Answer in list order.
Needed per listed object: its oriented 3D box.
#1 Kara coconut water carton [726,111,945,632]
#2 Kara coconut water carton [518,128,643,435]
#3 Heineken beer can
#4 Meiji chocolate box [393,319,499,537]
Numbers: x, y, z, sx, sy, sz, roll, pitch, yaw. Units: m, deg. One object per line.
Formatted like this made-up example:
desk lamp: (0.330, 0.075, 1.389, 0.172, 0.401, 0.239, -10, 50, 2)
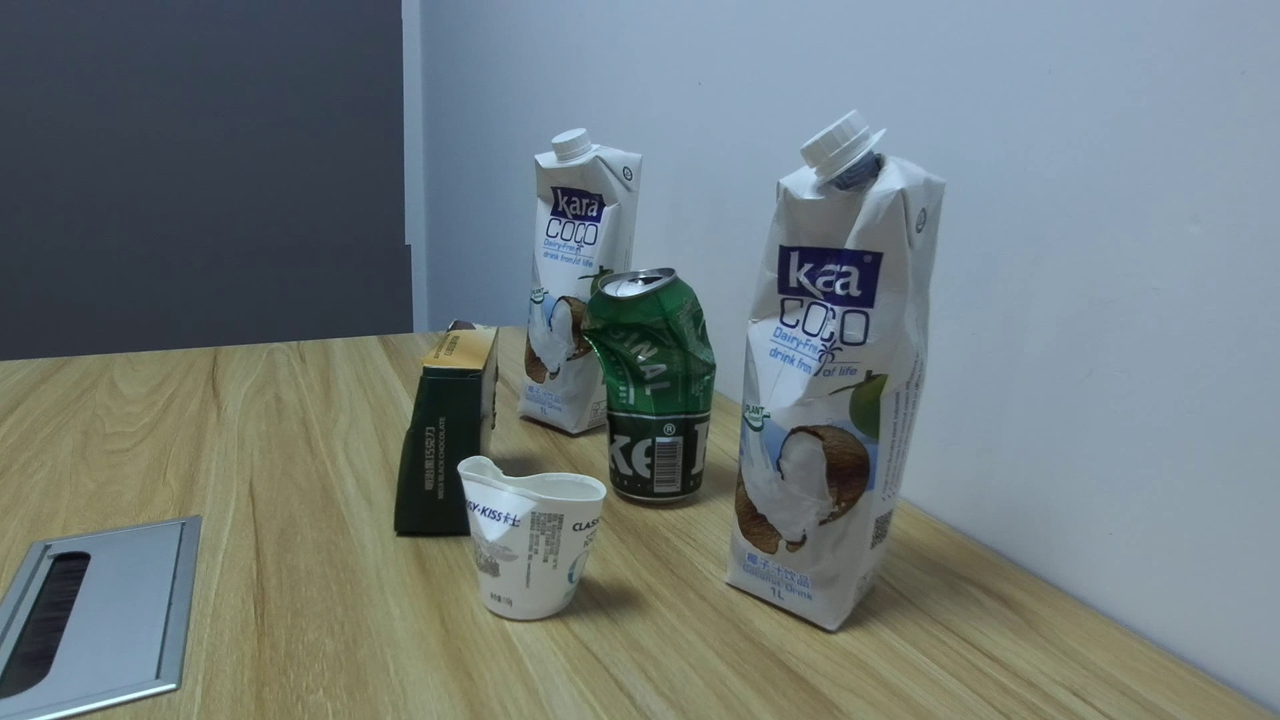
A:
Kara coconut water carton: (0.096, 0.008, 0.364, 0.079, 0.255, 0.083, -13, 24, -39)
Kara coconut water carton: (-0.050, -0.064, 0.592, 0.099, 0.244, 0.071, 12, 15, 34)
Heineken beer can: (0.011, 0.019, 0.486, 0.079, 0.159, 0.067, -12, 17, -22)
Meiji chocolate box: (-0.126, 0.040, 0.466, 0.058, 0.110, 0.113, 4, 17, -10)
